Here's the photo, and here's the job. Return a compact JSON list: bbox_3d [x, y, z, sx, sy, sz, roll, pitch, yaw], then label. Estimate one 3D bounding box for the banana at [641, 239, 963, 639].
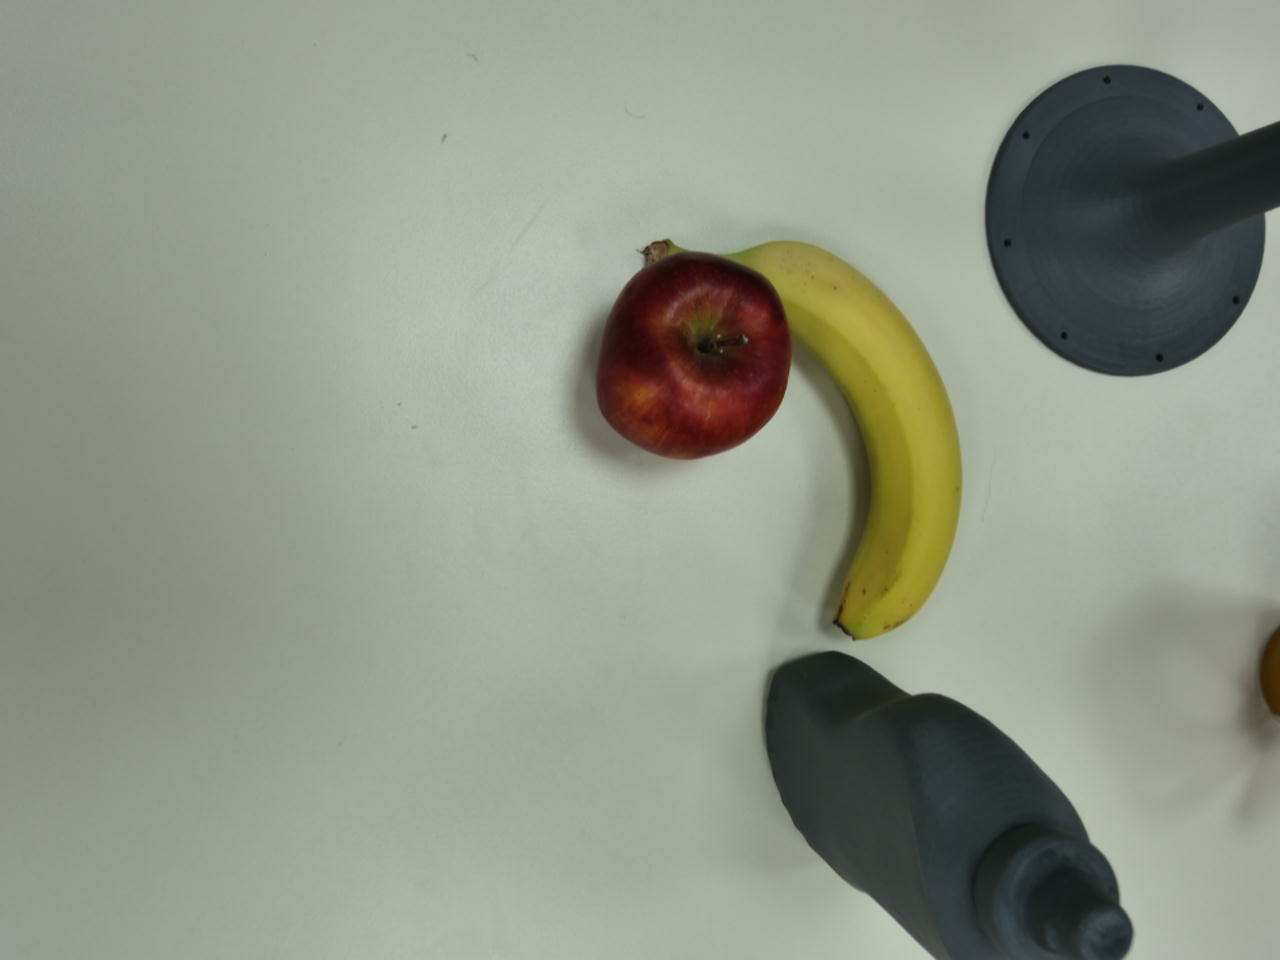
[{"bbox_3d":[0.088,-0.035,0.441,0.094,0.041,0.196,-27,95,-10],"label":"banana"}]
